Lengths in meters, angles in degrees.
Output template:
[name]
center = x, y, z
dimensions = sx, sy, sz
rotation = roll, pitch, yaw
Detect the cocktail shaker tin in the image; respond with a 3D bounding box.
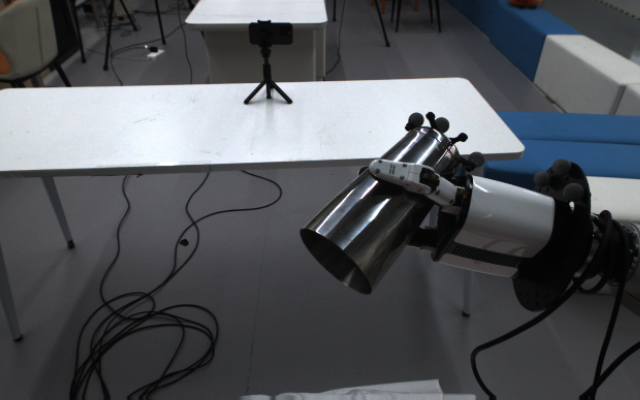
[cocktail shaker tin]
center = 0.071, 0.000, 0.500
dimensions = 0.093, 0.093, 0.170
rotation = 32, 67, 35
